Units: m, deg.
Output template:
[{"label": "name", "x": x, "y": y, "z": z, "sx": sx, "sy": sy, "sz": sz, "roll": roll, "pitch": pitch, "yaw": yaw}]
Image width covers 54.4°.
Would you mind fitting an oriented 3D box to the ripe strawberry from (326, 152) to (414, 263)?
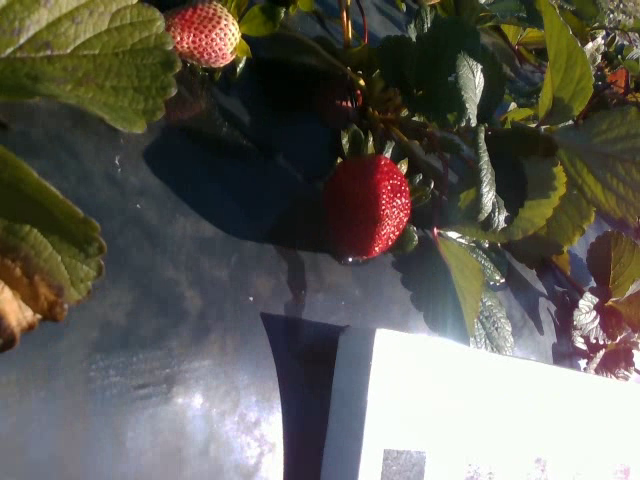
[{"label": "ripe strawberry", "x": 0.018, "y": -0.011, "z": 0.254, "sx": 0.058, "sy": 0.066, "sz": 0.061, "roll": -30, "pitch": 22, "yaw": -9}]
